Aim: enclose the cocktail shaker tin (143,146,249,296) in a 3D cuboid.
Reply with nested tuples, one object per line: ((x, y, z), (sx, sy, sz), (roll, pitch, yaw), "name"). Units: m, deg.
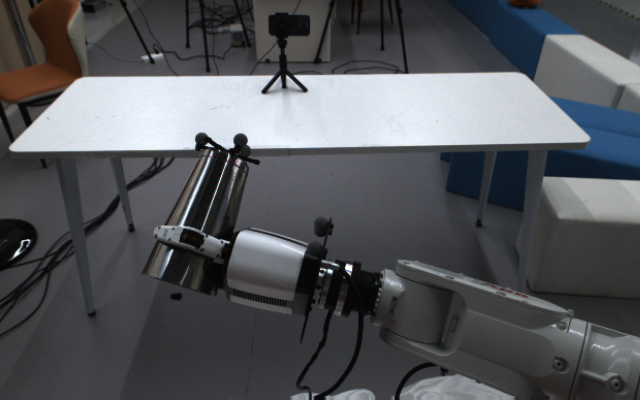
((-0.147, 0.026, 0.607), (0.093, 0.093, 0.170), (13, 74, 15), "cocktail shaker tin")
